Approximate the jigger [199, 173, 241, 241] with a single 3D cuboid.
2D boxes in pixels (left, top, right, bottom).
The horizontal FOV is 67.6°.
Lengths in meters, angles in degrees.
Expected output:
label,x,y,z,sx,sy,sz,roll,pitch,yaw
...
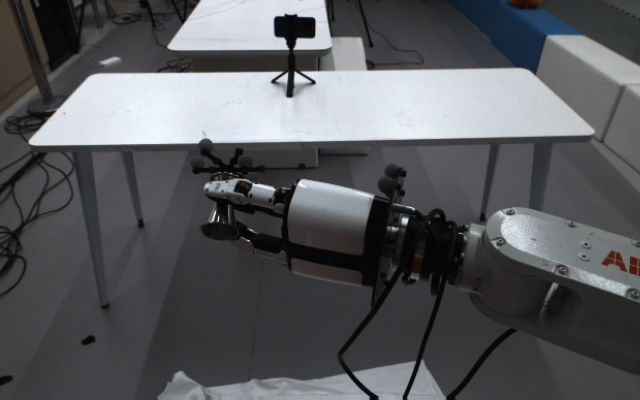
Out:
label,x,y,z,sx,sy,sz,roll,pitch,yaw
jigger,-0.111,0.004,0.556,0.043,0.043,0.071,2,59,-1
